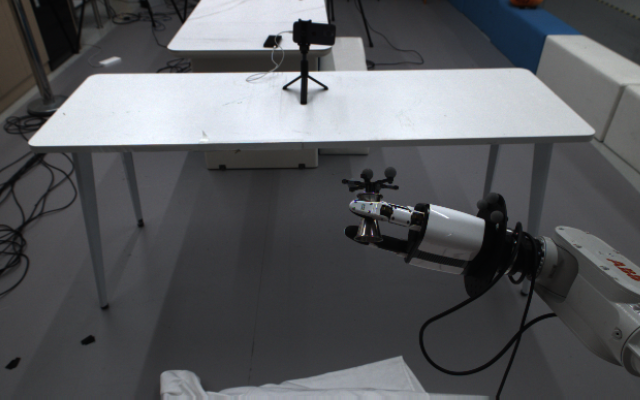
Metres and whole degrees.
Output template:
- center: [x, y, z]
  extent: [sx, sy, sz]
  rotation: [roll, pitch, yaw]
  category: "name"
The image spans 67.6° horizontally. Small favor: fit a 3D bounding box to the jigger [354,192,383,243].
- center: [0.073, 0.025, 0.727]
  extent: [0.043, 0.043, 0.071]
  rotation: [3, 75, 1]
  category: "jigger"
